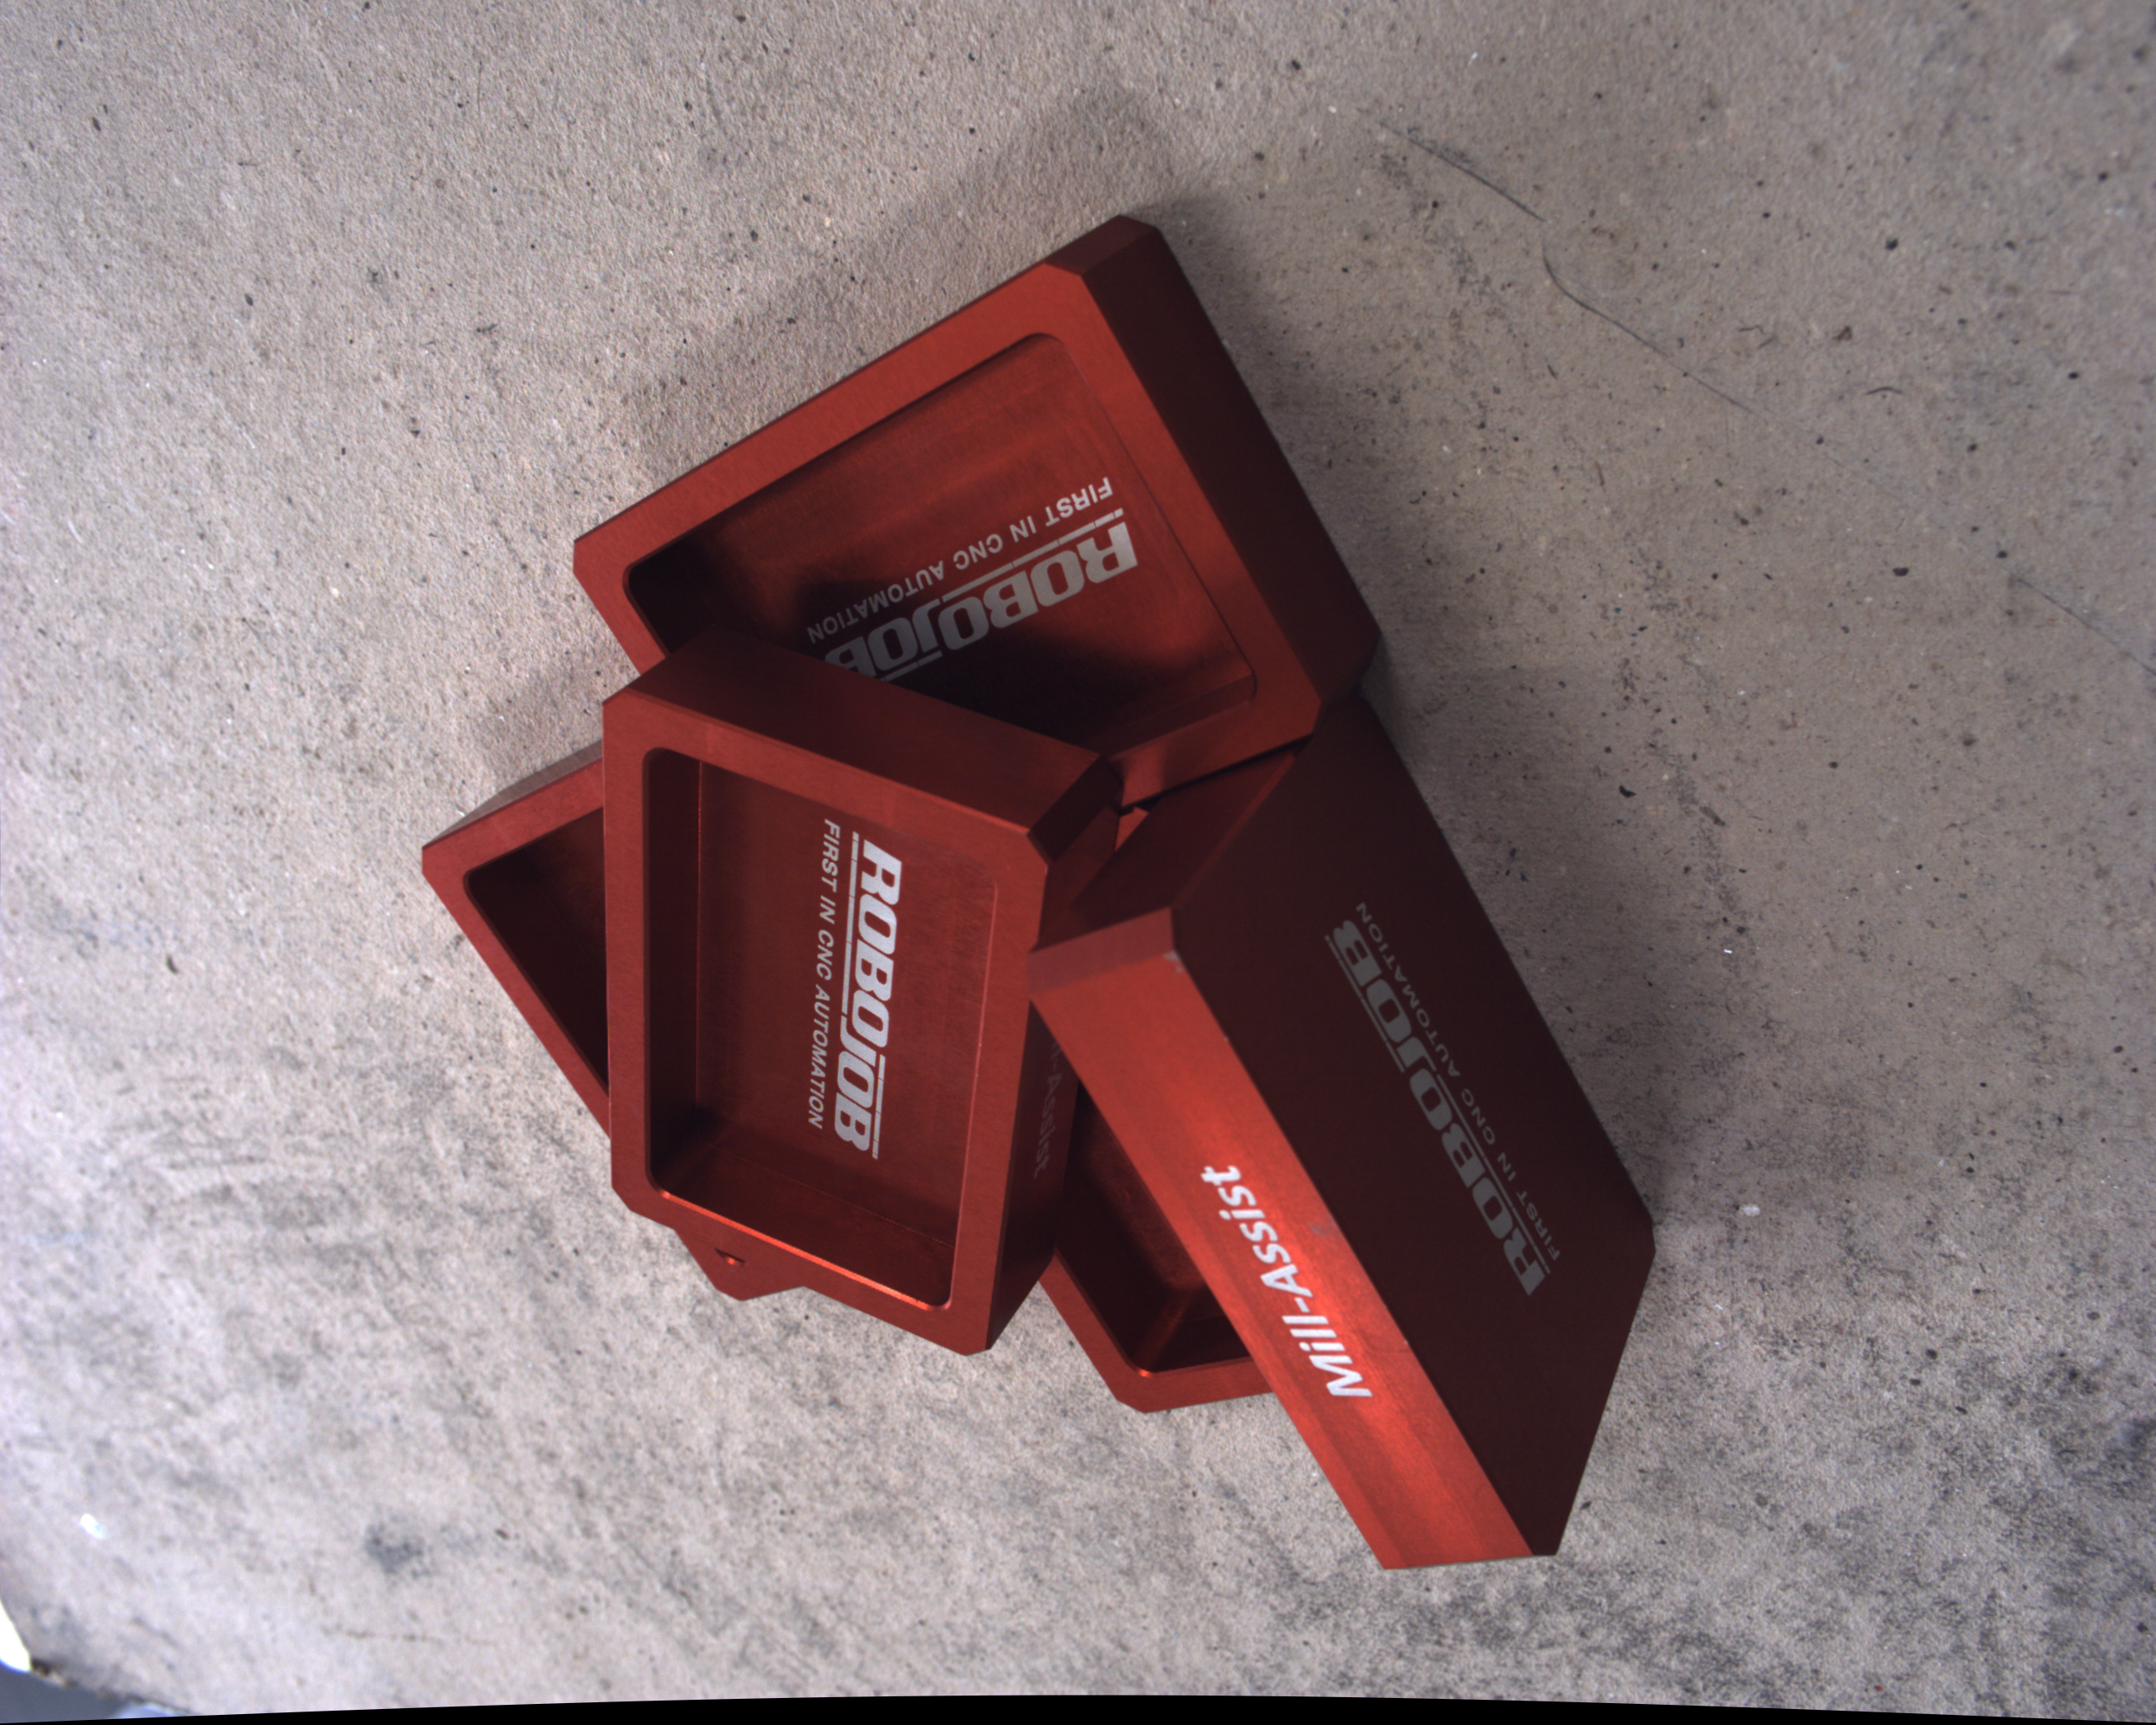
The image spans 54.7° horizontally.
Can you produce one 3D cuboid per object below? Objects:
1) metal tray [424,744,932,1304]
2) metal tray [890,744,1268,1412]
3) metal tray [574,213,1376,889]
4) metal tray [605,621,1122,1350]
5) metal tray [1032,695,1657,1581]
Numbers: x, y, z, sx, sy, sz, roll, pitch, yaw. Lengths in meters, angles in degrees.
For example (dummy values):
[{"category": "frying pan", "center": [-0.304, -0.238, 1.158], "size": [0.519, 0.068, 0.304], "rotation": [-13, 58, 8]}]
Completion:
[{"category": "metal tray", "center": [-0.076, 0.033, 0.464], "size": [0.090, 0.030, 0.130], "rotation": [-20, 107, 36]}, {"category": "metal tray", "center": [0.017, 0.049, 0.424], "size": [0.090, 0.030, 0.130], "rotation": [-21, 109, 37]}, {"category": "metal tray", "center": [-0.022, -0.050, 0.387], "size": [0.130, 0.030, 0.090], "rotation": [-20, 108, 36]}, {"category": "metal tray", "center": [-0.045, 0.027, 0.408], "size": [0.090, 0.030, 0.129], "rotation": [20, 127, 17]}, {"category": "metal tray", "center": [0.052, 0.047, 0.365], "size": [0.030, 0.090, 0.130], "rotation": [-20, 108, 35]}]
